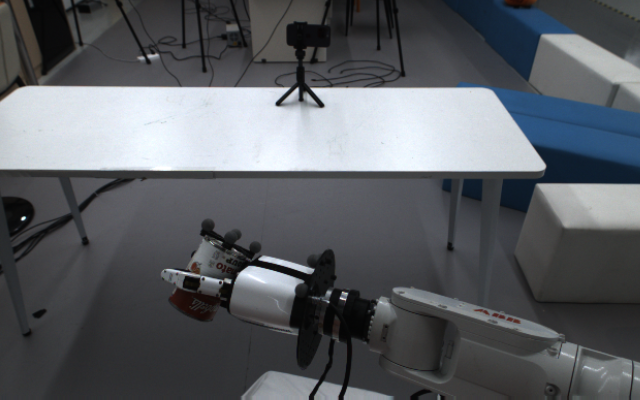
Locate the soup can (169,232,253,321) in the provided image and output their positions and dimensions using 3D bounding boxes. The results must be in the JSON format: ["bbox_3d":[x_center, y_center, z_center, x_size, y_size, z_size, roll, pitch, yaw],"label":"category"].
[{"bbox_3d":[-0.155,0.109,0.670,0.067,0.101,0.067,30,-2,1],"label":"soup can"}]
